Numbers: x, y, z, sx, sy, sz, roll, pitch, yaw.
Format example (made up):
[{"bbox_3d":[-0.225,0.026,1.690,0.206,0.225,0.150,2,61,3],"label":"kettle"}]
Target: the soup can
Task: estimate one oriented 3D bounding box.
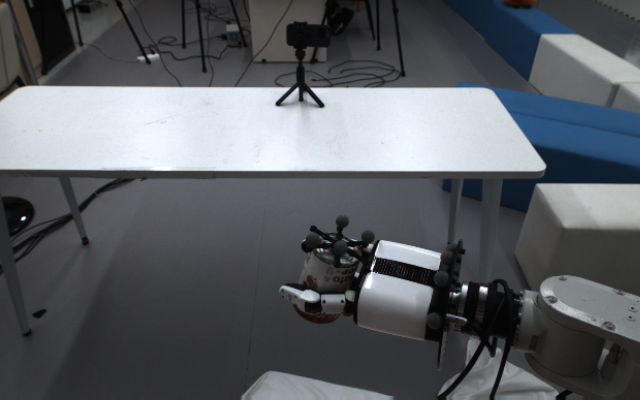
[{"bbox_3d":[0.009,0.102,0.632,0.067,0.101,0.067,13,30,-8],"label":"soup can"}]
